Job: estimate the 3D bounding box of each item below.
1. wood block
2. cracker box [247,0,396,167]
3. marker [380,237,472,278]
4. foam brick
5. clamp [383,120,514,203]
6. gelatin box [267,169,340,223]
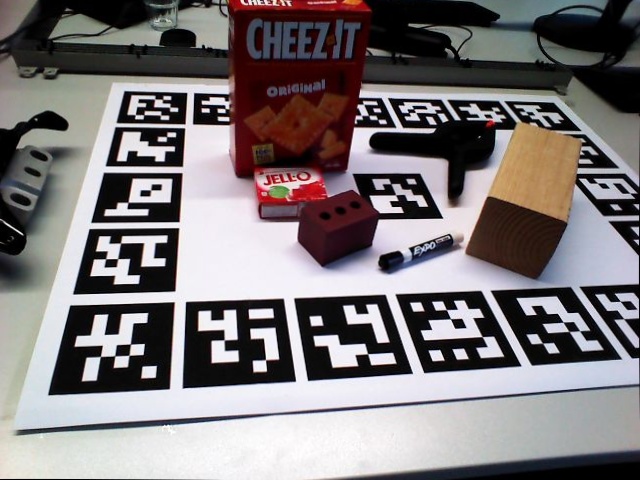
[{"bbox_3d":[0.277,-0.050,0.644,0.090,0.091,0.204,22,43,18],"label":"wood block"},{"bbox_3d":[-0.009,-0.197,0.657,0.164,0.214,0.072,-2,43,-13],"label":"cracker box"},{"bbox_3d":[0.122,0.020,0.594,0.120,0.020,0.019,-16,50,-23],"label":"marker"},{"bbox_3d":[0.031,-0.010,0.591,0.078,0.051,0.053,-20,52,-26],"label":"foam brick"},{"bbox_3d":[0.218,-0.136,0.759,0.201,0.037,0.165,-26,53,-30],"label":"clamp"},{"bbox_3d":[-0.021,-0.057,0.652,0.089,0.030,0.073,-2,46,-10],"label":"gelatin box"}]
